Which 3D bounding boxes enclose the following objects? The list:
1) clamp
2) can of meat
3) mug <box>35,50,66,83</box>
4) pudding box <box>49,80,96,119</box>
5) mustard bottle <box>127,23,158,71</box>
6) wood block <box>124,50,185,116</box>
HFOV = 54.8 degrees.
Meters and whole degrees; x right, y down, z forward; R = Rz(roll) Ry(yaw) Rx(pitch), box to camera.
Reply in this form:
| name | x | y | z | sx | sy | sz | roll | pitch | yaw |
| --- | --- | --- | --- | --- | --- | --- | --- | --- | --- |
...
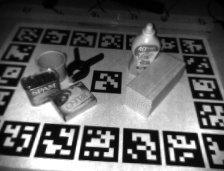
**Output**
| name | x | y | z | sx | sy | sz | roll | pitch | yaw |
| --- | --- | --- | --- | --- | --- | --- | --- | --- | --- |
| clamp | -0.114 | -0.090 | 0.774 | 0.121 | 0.037 | 0.165 | 20 | 54 | 10 |
| can of meat | -0.214 | -0.002 | 0.653 | 0.102 | 0.084 | 0.057 | -22 | 56 | -19 |
| mug | -0.198 | -0.067 | 0.743 | 0.092 | 0.082 | 0.117 | 21 | 55 | 14 |
| pudding box | -0.118 | 0.037 | 0.663 | 0.115 | 0.039 | 0.089 | -29 | 59 | -26 |
| mustard bottle | 0.102 | -0.132 | 0.714 | 0.096 | 0.192 | 0.058 | -2 | 52 | -3 |
| wood block | 0.136 | -0.014 | 0.693 | 0.089 | 0.091 | 0.207 | 33 | 54 | 24 |
